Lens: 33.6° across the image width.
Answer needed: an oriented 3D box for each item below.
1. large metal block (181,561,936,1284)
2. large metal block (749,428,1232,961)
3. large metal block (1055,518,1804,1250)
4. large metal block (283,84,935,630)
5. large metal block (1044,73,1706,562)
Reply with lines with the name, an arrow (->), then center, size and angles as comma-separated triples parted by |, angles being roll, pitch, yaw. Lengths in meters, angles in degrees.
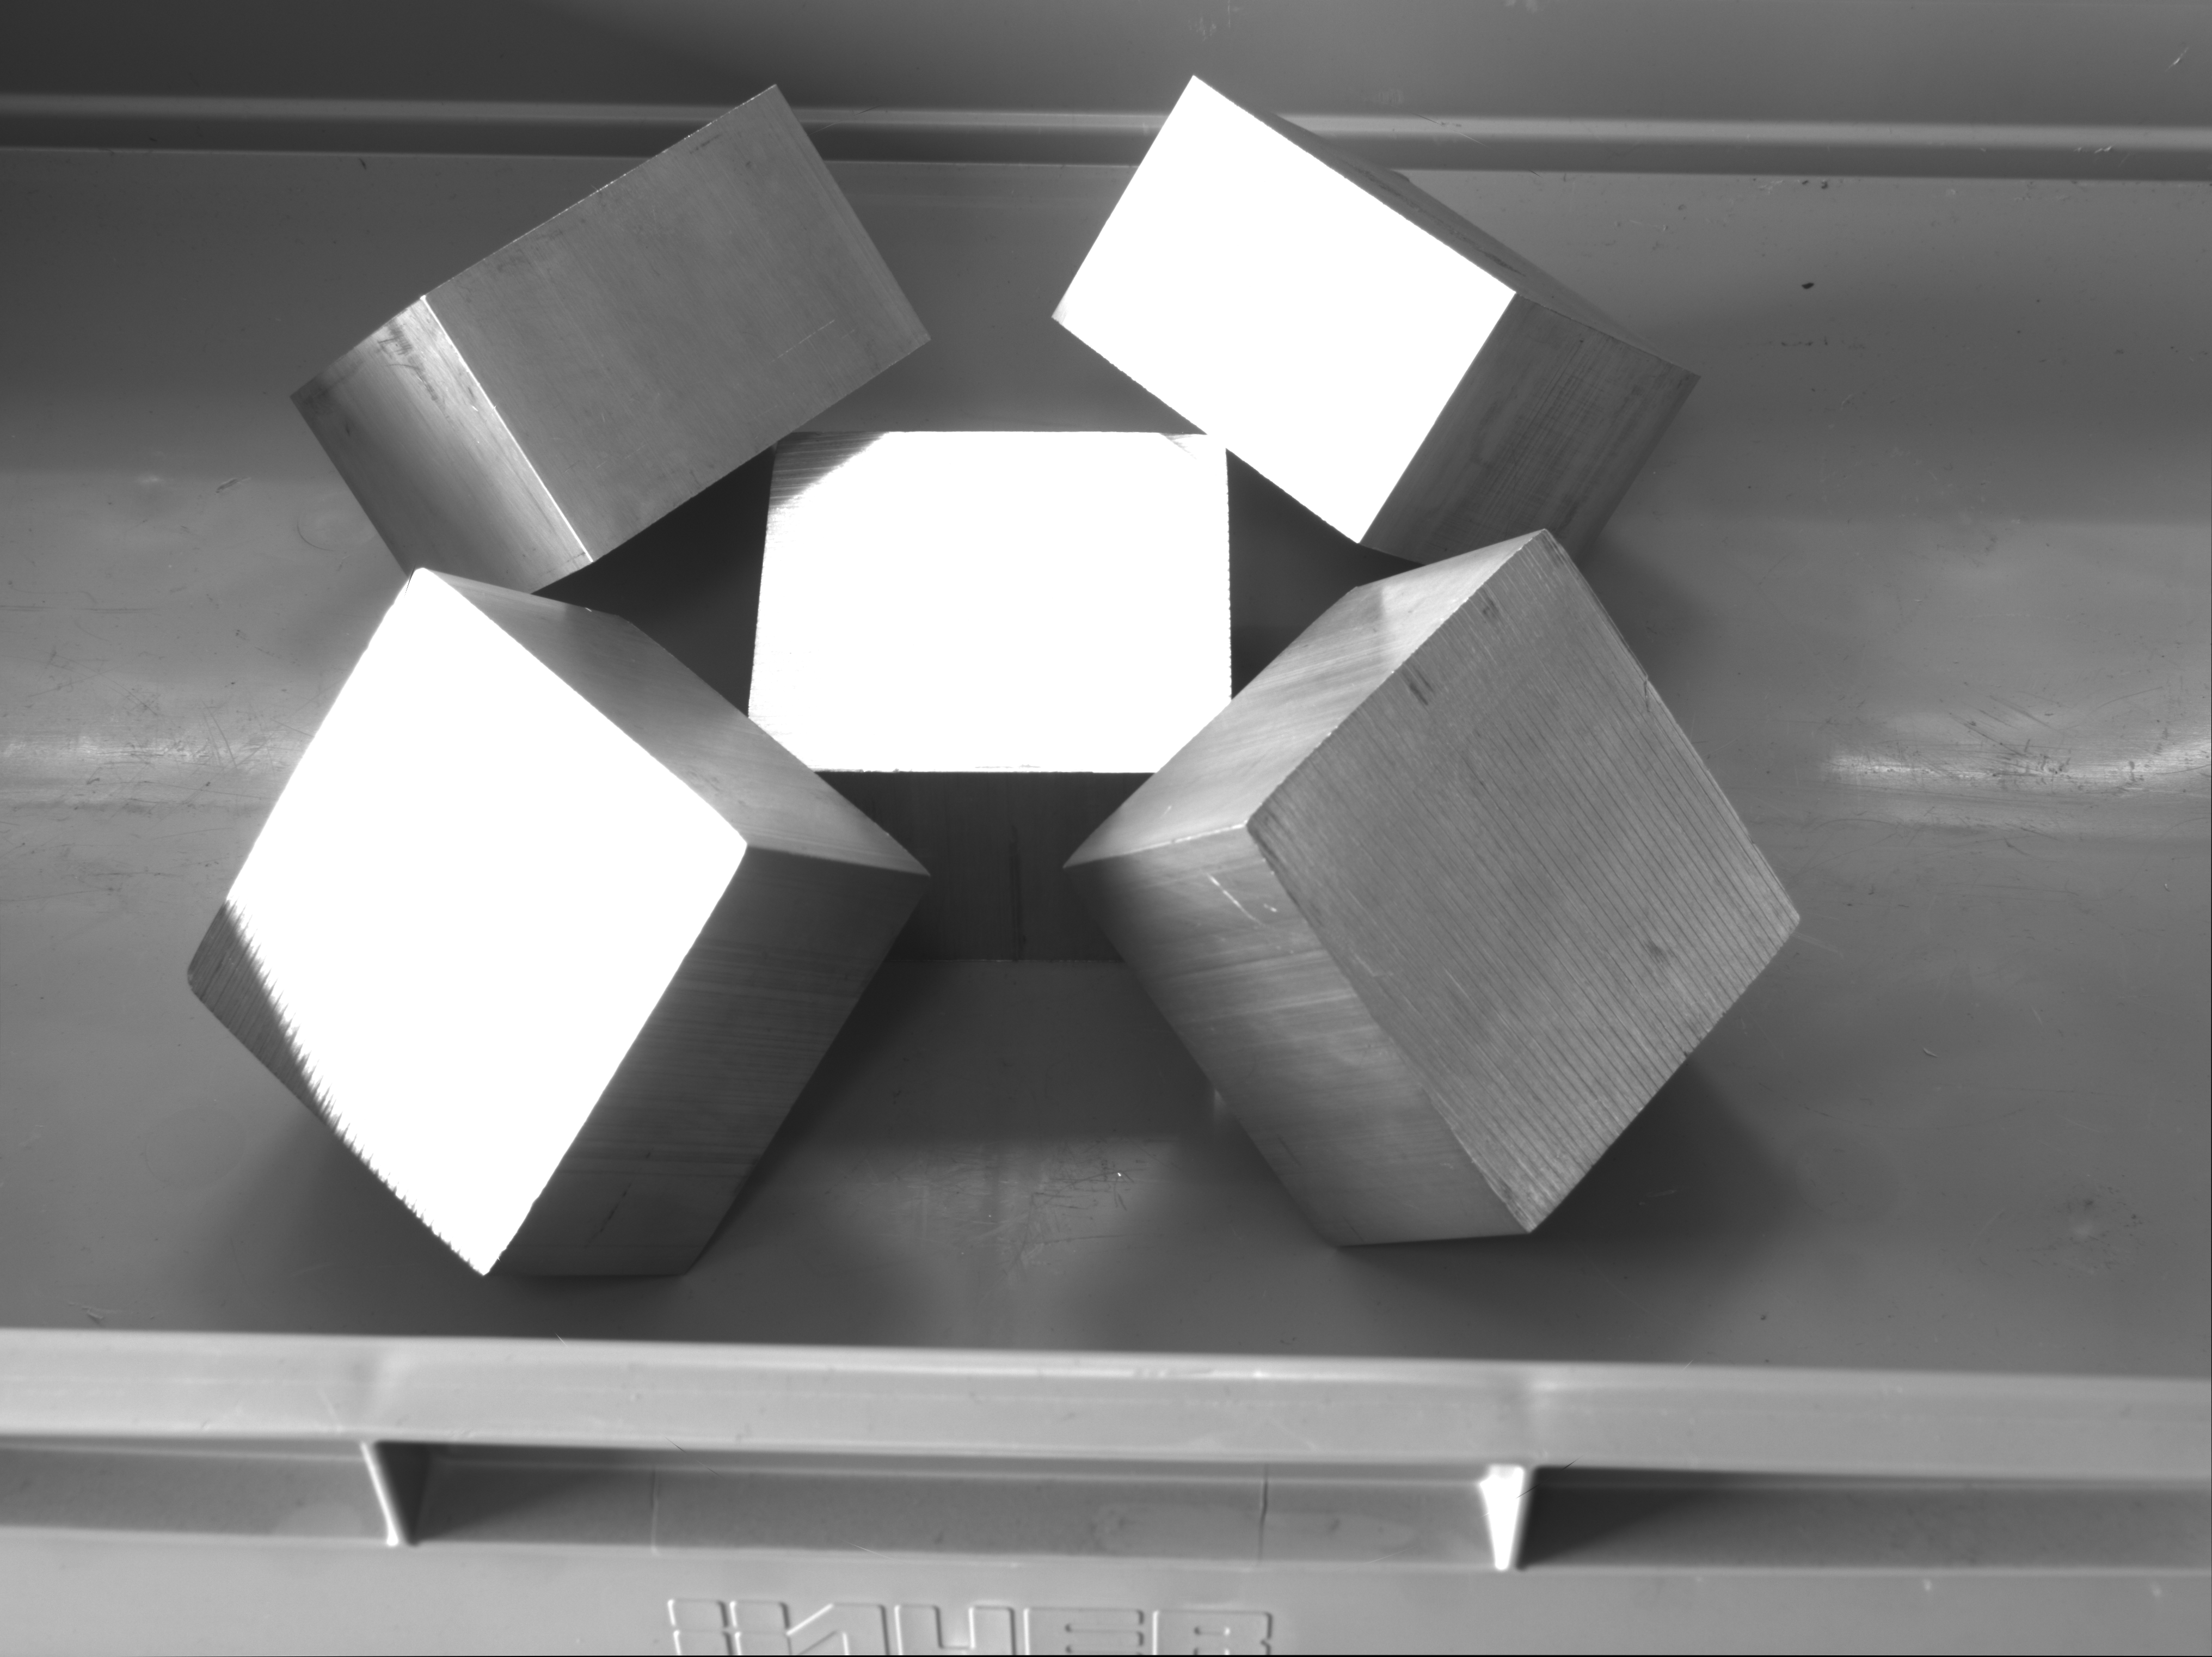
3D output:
large metal block -> -0.088, 0.016, 0.584 | 0.080, 0.050, 0.080 | 38, 104, 28
large metal block -> -0.018, -0.024, 0.643 | 0.080, 0.050, 0.080 | 1, 50, 1
large metal block -> 0.053, 0.010, 0.587 | 0.080, 0.050, 0.080 | -44, 107, -31
large metal block -> -0.091, -0.084, 0.664 | 0.080, 0.080, 0.050 | -38, 103, -28
large metal block -> 0.050, -0.089, 0.672 | 0.080, 0.050, 0.080 | 39, 17, 29
